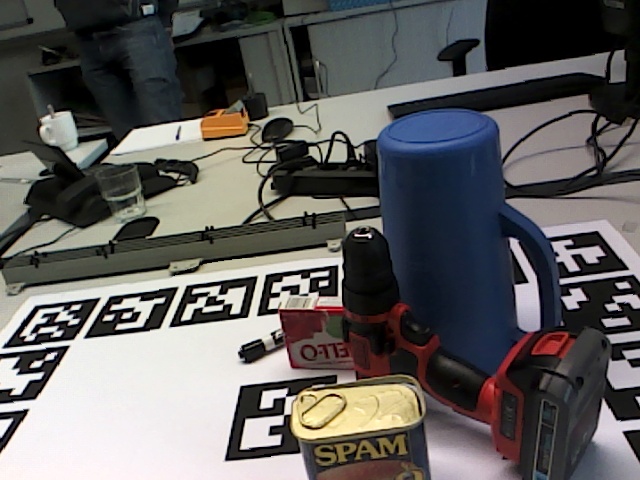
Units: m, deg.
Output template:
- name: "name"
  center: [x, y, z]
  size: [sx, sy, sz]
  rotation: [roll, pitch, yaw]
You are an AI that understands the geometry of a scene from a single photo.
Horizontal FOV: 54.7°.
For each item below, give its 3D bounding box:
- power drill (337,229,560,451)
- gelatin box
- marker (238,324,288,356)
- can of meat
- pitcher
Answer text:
- name: "power drill"
  center: [0.098, 0.087, 0.523]
  size: [0.188, 0.184, 0.057]
  rotation: [17, 41, 31]
- name: "gelatin box"
  center: [0.012, 0.100, 0.645]
  size: [0.089, 0.073, 0.030]
  rotation: [-2, 33, 14]
- name: "marker"
  center: [-0.038, 0.102, 0.708]
  size: [0.121, 0.019, 0.020]
  rotation: [-22, 31, -18]
- name: "can of meat"
  center: [0.039, 0.168, 0.494]
  size: [0.102, 0.083, 0.058]
  rotation: [-8, 26, 4]
- name: "pitcher"
  center: [0.142, 0.010, 0.599]
  size: [0.190, 0.241, 0.133]
  rotation: [3, 34, 37]
